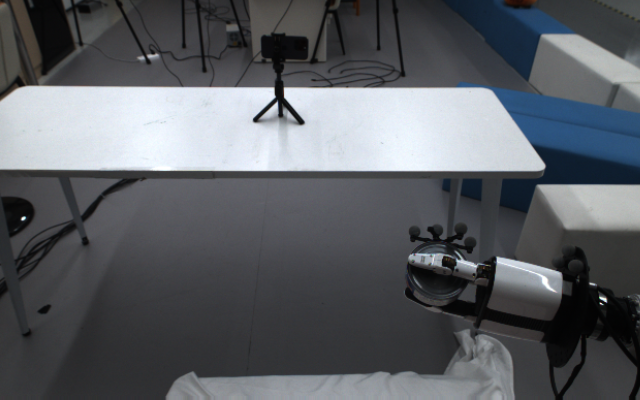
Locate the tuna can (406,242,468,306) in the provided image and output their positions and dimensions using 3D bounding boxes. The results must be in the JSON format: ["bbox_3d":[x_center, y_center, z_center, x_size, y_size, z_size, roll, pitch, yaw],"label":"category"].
[{"bbox_3d":[0.163,0.097,0.672,0.085,0.034,0.085,-2,56,3],"label":"tuna can"}]
